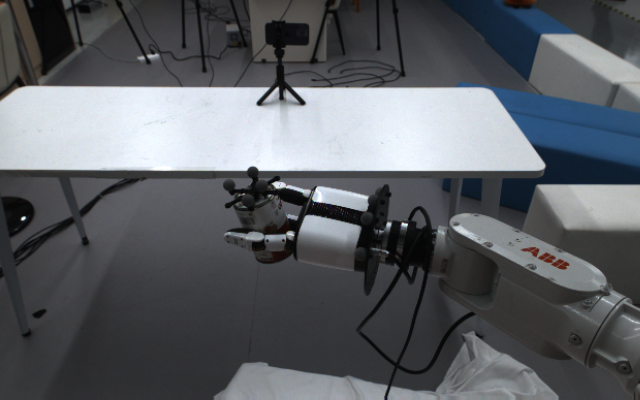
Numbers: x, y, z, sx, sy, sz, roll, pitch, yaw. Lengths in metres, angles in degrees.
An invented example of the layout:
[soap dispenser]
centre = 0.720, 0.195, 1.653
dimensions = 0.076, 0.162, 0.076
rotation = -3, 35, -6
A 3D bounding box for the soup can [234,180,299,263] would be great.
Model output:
[soup can]
centre = -0.079, 0.035, 0.712
dimensions = 0.067, 0.101, 0.067
rotation = -14, 31, 8
